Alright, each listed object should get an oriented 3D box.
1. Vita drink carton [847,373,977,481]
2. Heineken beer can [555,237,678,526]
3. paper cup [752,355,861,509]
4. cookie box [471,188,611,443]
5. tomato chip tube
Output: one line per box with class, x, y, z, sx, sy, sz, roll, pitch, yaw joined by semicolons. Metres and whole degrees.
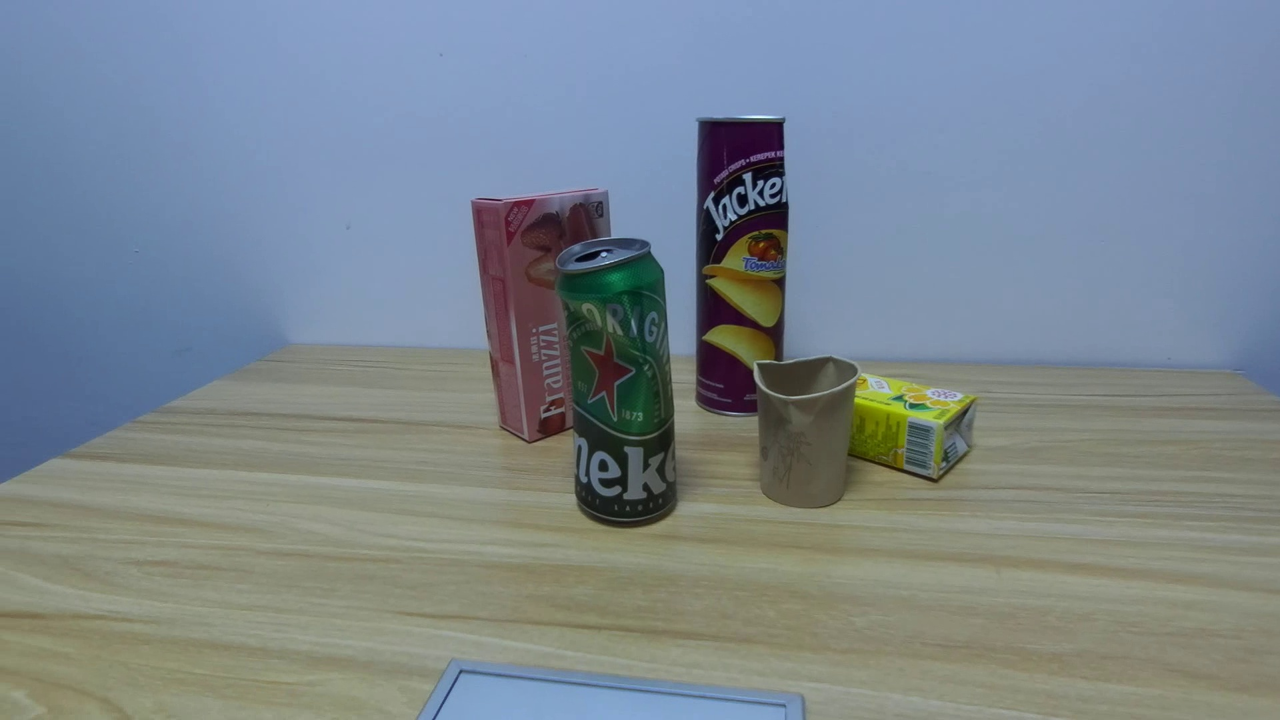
Vita drink carton;0.179;0.043;0.520;0.108;0.043;0.067;15;23;41
Heineken beer can;-0.014;0.015;0.433;0.069;0.168;0.068;-1;20;11
paper cup;0.108;0.046;0.453;0.072;0.084;0.066;-6;18;-10
cookie box;-0.069;-0.038;0.562;0.096;0.184;0.048;-17;23;-37
tomato chip tube;0.084;-0.076;0.579;0.076;0.235;0.078;2;19;13
